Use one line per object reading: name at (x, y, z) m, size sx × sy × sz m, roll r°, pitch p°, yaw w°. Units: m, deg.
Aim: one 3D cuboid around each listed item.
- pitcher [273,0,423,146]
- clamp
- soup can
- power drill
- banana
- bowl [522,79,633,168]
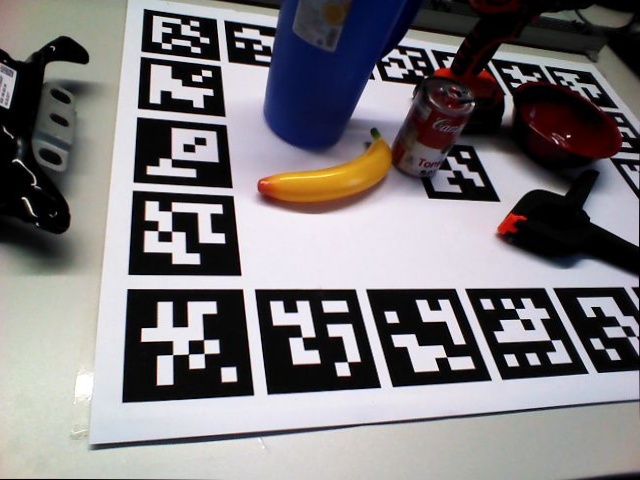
pitcher at (0.030, -0.227, 0.554) m, size 0.188 × 0.244 × 0.133 m, roll -23°, pitch 61°, yaw -30°
clamp at (0.313, -0.024, 0.614) m, size 0.202 × 0.037 × 0.164 m, roll -2°, pitch 59°, yaw -19°
soup can at (0.138, -0.134, 0.611) m, size 0.068 × 0.102 × 0.067 m, roll 9°, pitch 44°, yaw -9°
power drill at (0.248, -0.249, 0.652) m, size 0.184 × 0.188 × 0.057 m, roll -4°, pitch 56°, yaw -21°
banana at (0.021, -0.075, 0.572) m, size 0.196 × 0.039 × 0.074 m, roll -23°, pitch 55°, yaw -32°
bowl at (0.342, -0.153, 0.717) m, size 0.161 × 0.055 × 0.160 m, roll 8°, pitch 54°, yaw -11°
